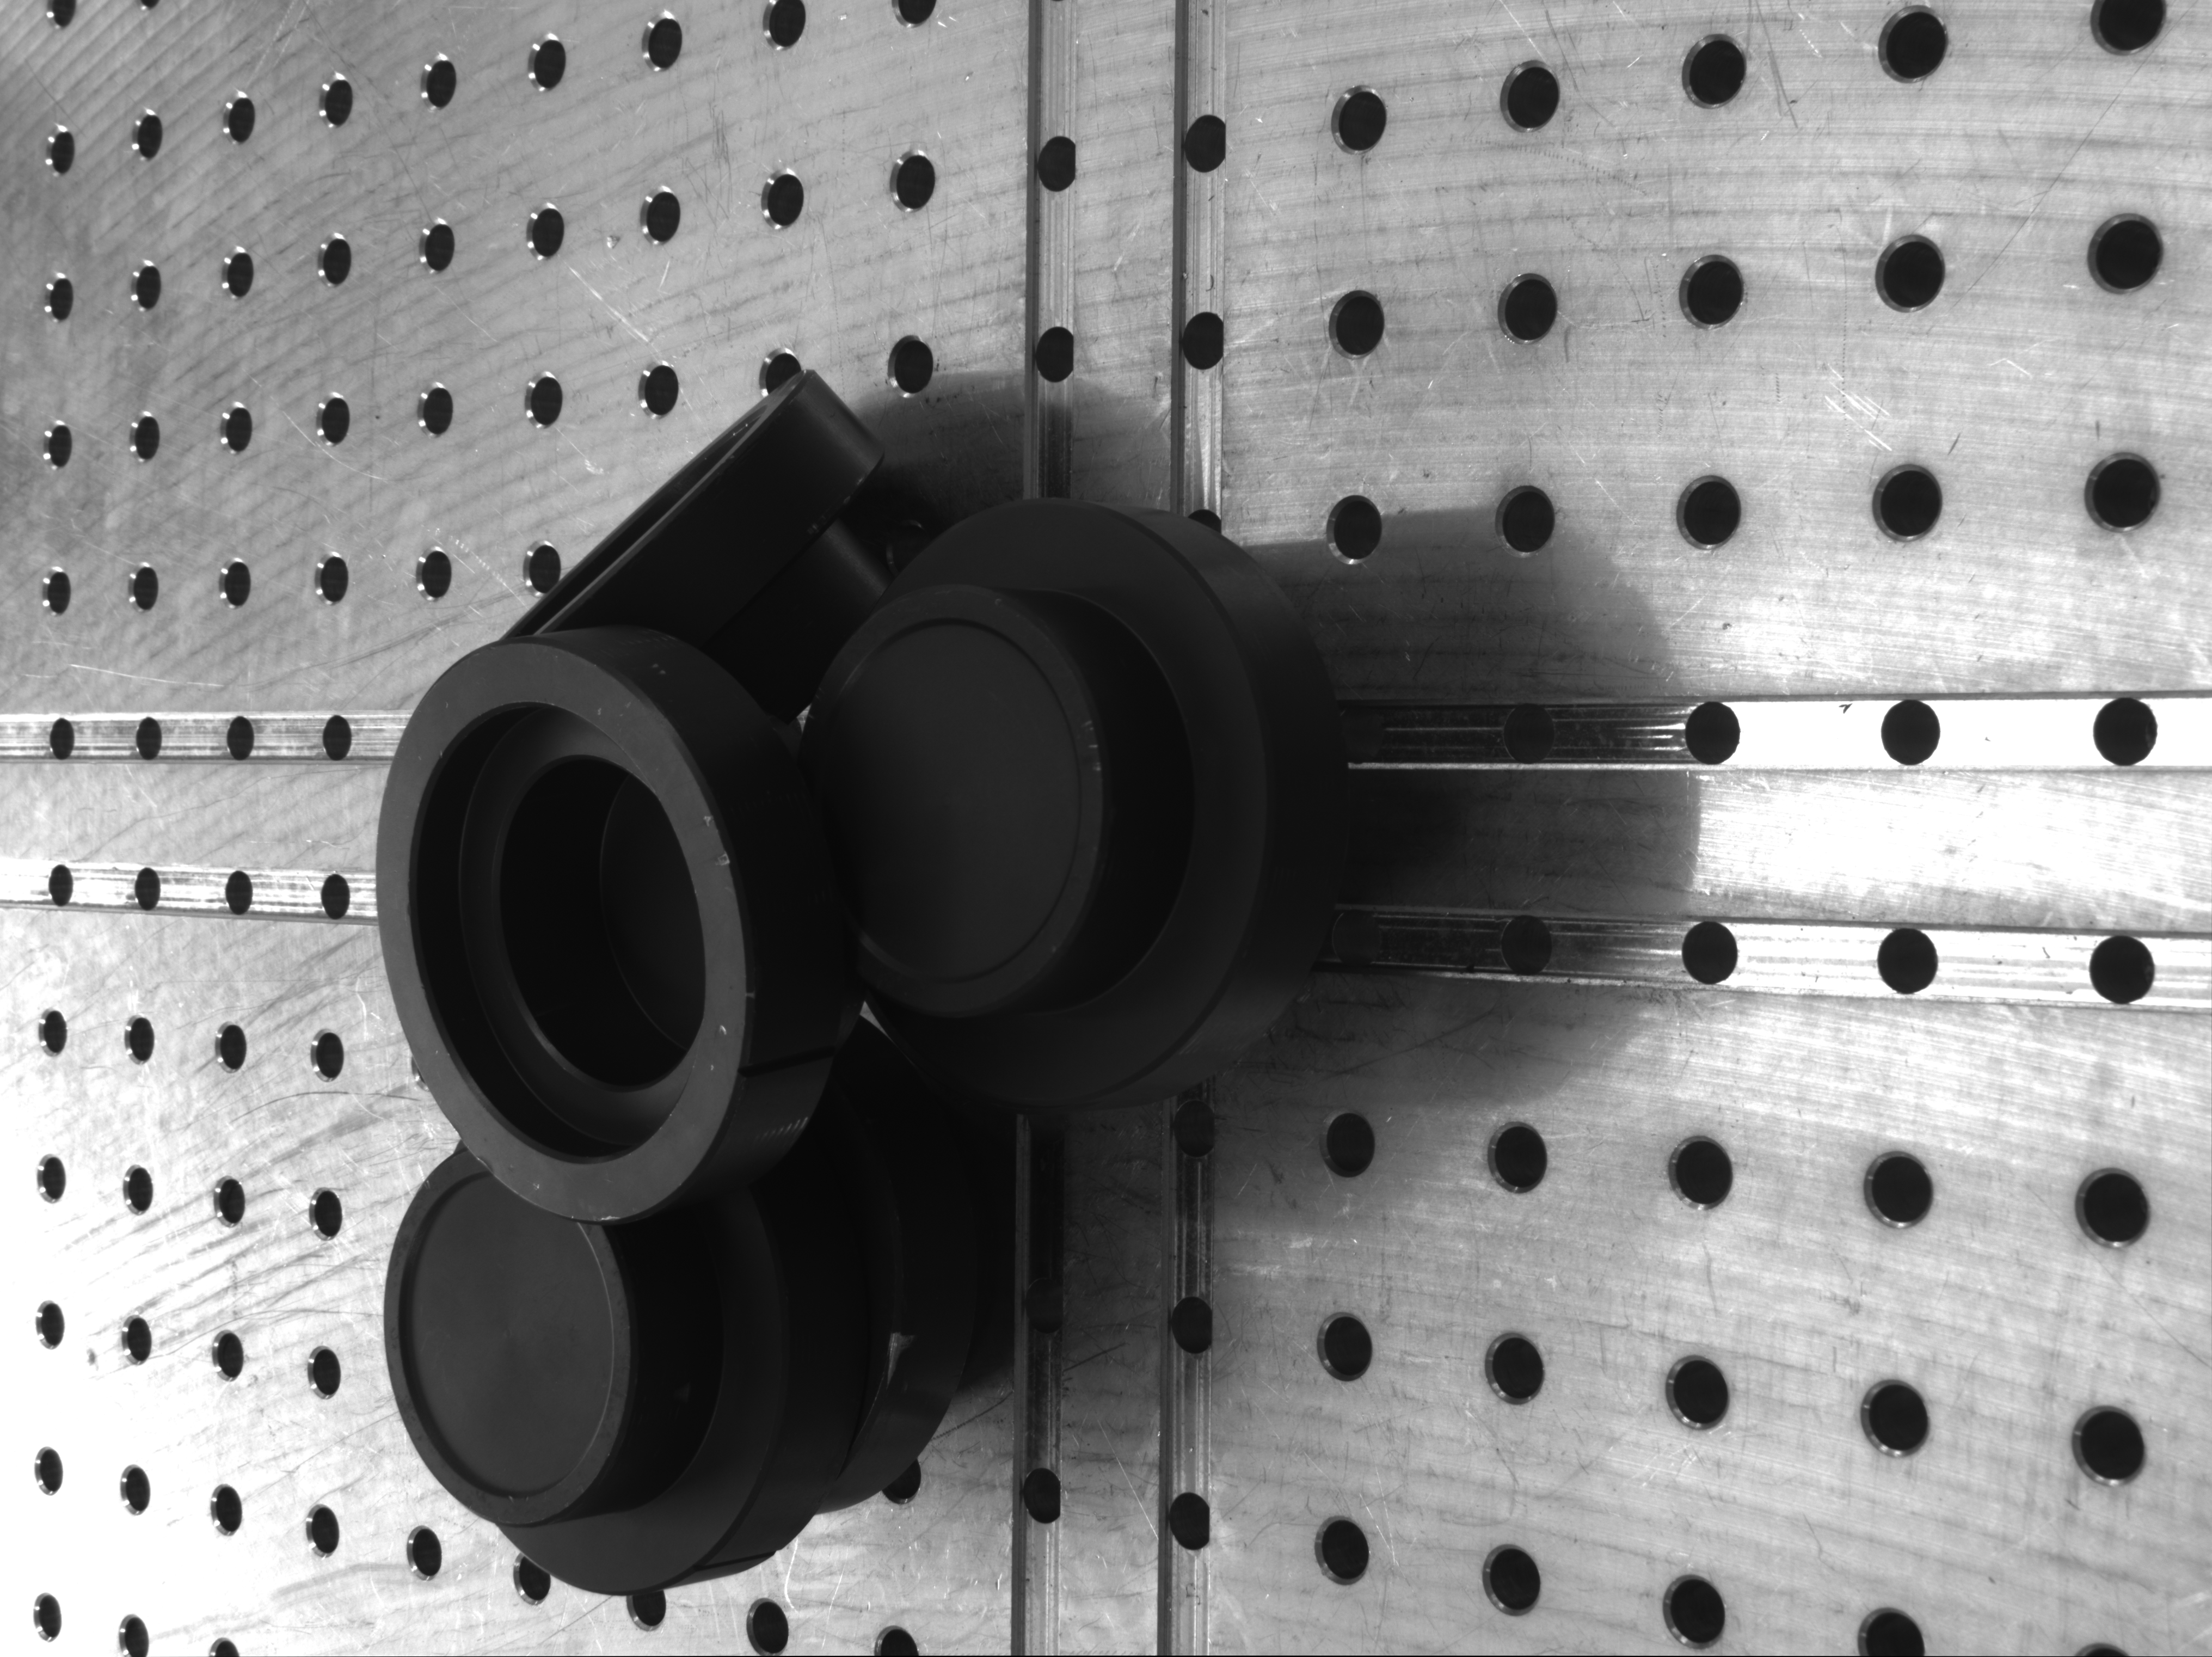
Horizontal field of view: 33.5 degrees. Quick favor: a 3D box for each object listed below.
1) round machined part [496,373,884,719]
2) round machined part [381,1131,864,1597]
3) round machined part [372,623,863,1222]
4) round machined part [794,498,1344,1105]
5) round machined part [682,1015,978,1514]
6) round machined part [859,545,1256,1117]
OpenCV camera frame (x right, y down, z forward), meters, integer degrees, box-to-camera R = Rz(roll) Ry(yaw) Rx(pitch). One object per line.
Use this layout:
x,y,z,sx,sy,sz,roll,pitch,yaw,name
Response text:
-0.077,-0.036,0.678,0.098,0.098,0.042,-35,104,35,round machined part
-0.093,0.089,0.660,0.098,0.042,0.098,0,90,40,round machined part
-0.078,0.014,0.619,0.098,0.042,0.098,10,104,42,round machined part
-0.013,-0.004,0.592,0.098,0.042,0.098,-1,89,40,round machined part
-0.073,0.079,0.672,0.098,0.042,0.098,0,90,40,round machined part
-0.015,0.000,0.623,0.098,0.042,0.098,0,90,40,round machined part
